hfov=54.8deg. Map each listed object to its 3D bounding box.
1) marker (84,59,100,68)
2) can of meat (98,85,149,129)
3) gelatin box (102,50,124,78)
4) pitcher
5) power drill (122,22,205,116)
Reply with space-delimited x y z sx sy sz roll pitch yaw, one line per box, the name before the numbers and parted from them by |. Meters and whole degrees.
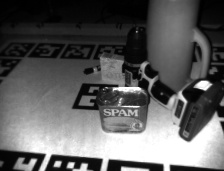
marker | -0.025 -0.075 0.650 0.122 0.020 0.019 -17 43 -13
can of meat | 0.026 0.046 0.458 0.101 0.084 0.057 1 40 6
gelatin box | 0.020 -0.055 0.587 0.089 0.074 0.030 10 47 14
pitcher | 0.157 -0.113 0.523 0.186 0.244 0.134 21 51 36
power drill | 0.098 -0.029 0.467 0.185 0.185 0.058 32 56 27
